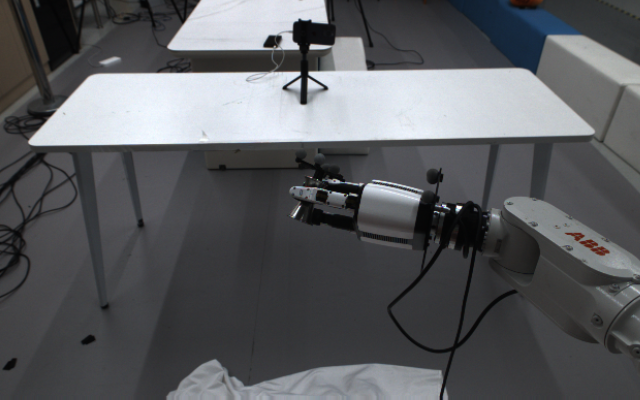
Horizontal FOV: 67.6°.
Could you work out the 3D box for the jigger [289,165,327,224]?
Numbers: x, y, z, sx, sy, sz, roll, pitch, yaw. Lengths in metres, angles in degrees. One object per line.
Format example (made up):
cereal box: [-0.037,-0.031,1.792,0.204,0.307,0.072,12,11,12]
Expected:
jigger: [-0.020,-0.001,0.745,0.043,0.071,0.043,24,-3,1]
